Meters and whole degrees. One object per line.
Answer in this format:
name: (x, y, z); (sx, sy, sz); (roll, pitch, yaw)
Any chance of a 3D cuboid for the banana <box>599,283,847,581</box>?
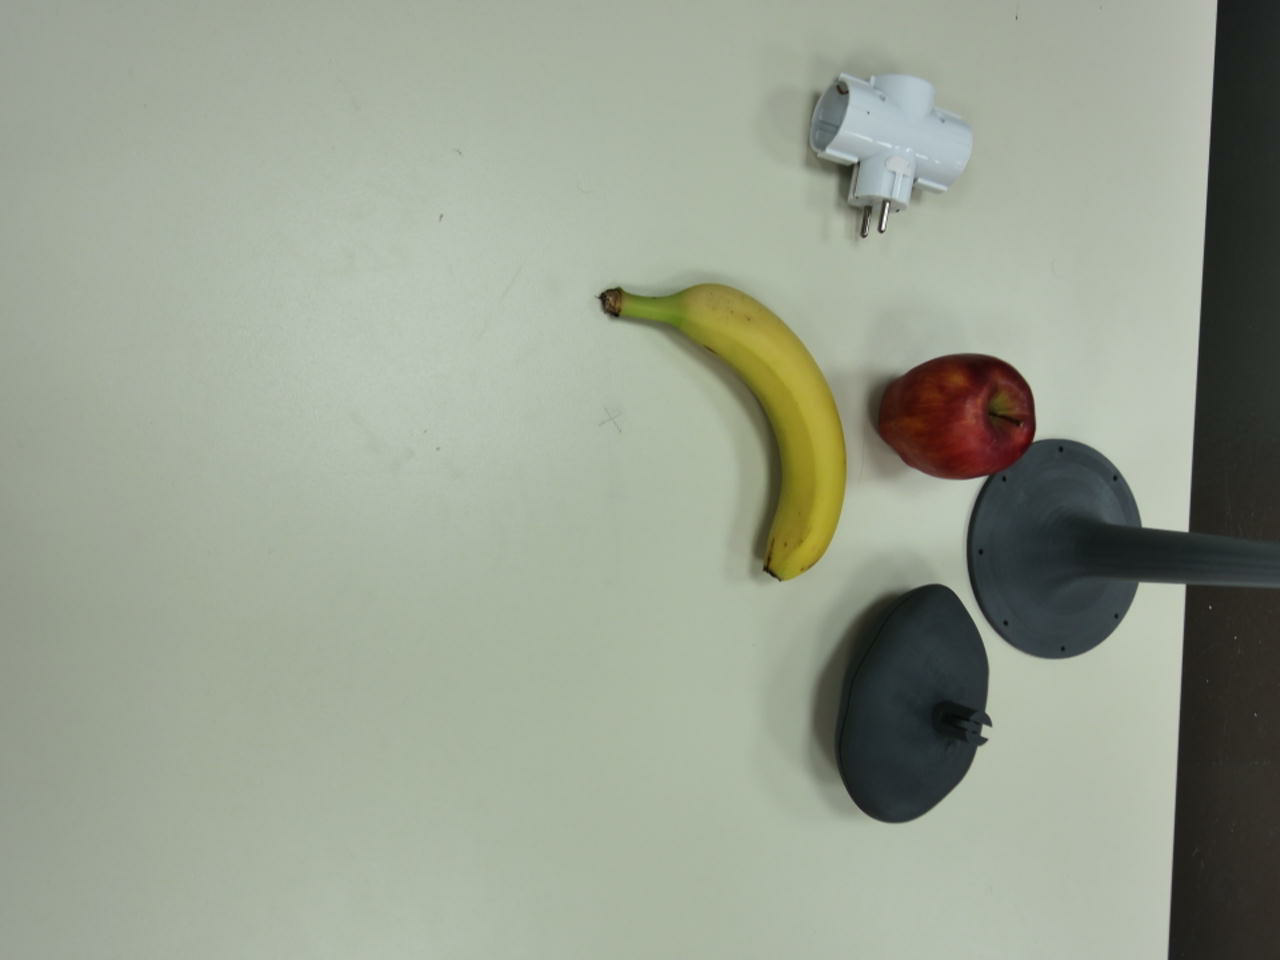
banana: (0.066, -0.044, 0.580); (0.094, 0.041, 0.196); (-33, 102, -18)
